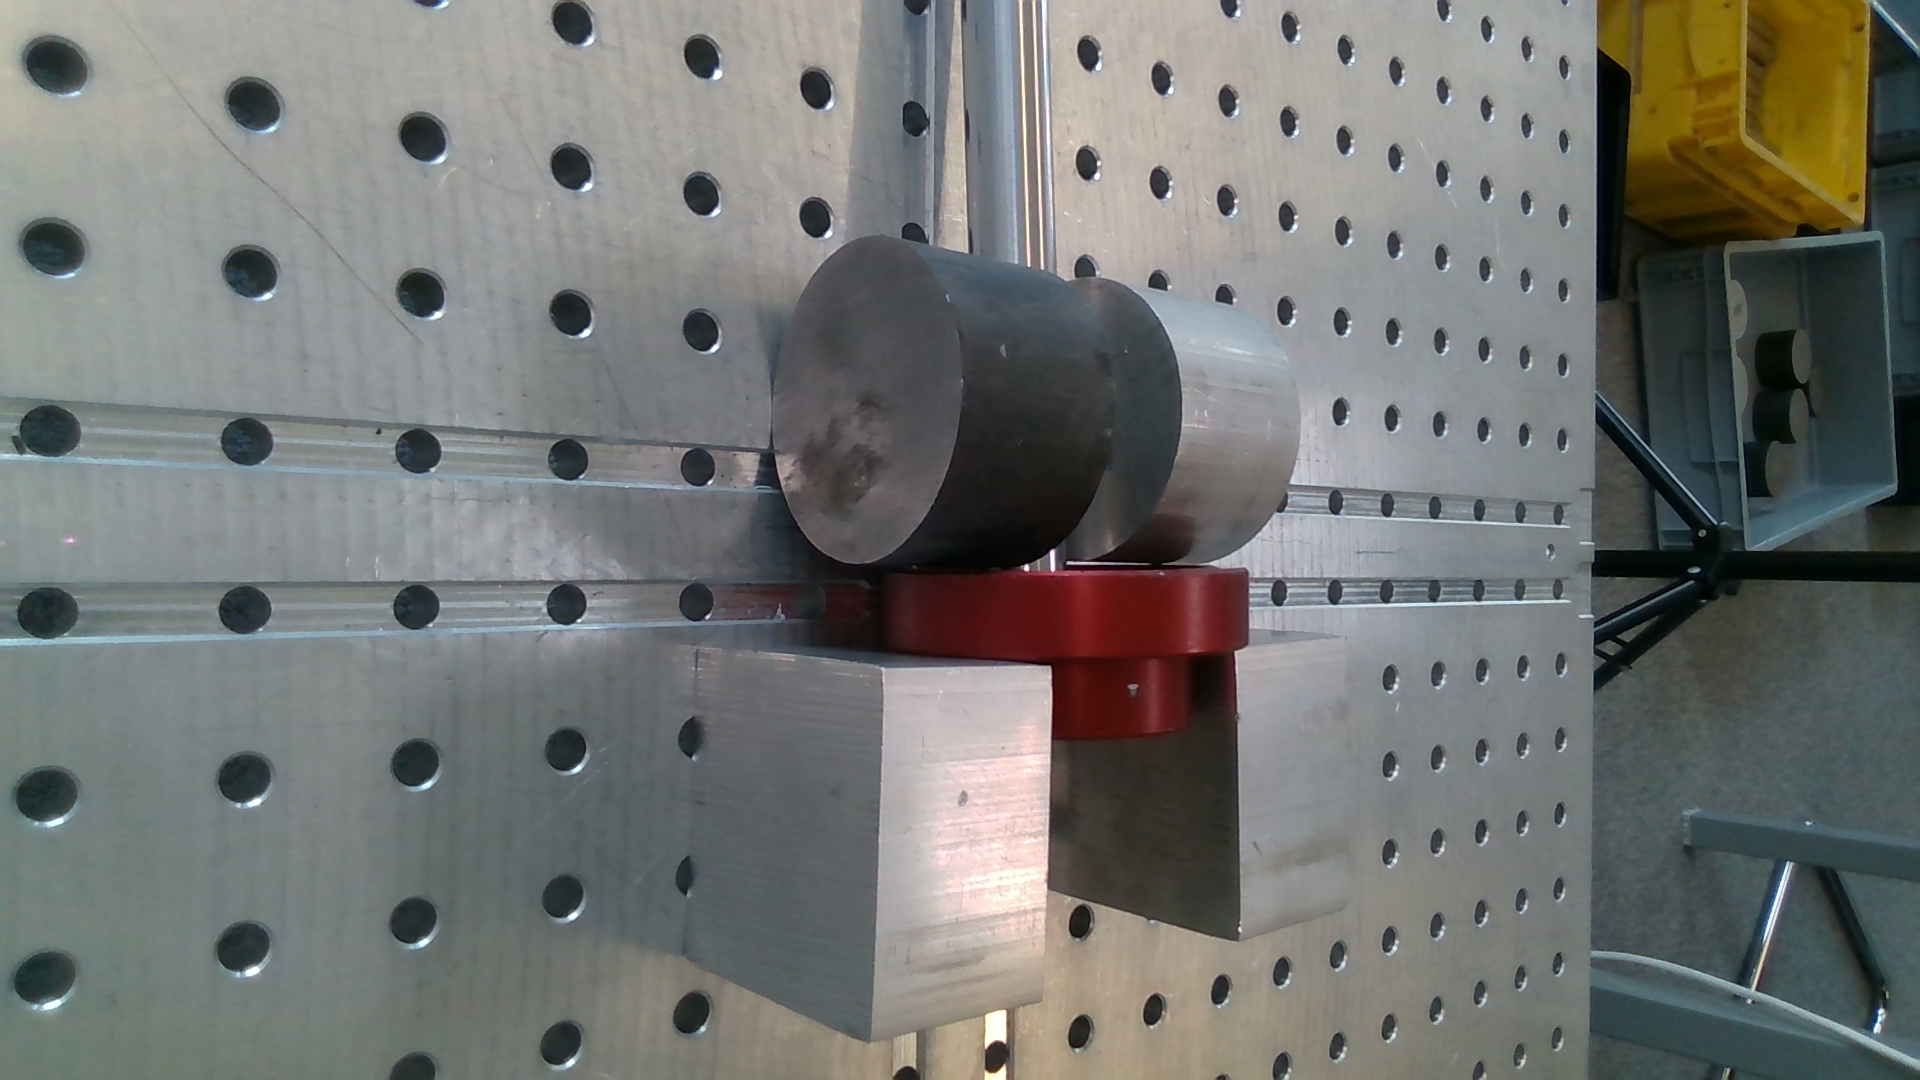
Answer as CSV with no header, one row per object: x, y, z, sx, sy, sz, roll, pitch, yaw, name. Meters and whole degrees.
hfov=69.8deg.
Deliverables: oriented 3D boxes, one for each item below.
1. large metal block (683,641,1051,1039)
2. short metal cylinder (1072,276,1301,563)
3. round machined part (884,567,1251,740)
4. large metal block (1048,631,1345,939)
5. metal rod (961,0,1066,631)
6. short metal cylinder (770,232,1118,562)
-0.025,0.067,0.339,0.050,0.080,0.080,3,88,-40,large metal block
0.051,-0.033,0.402,0.050,0.080,0.080,1,89,-40,short metal cylinder
0.028,0.028,0.370,0.098,0.098,0.042,1,89,-40,round machined part
0.068,0.067,0.417,0.050,0.080,0.080,-1,90,-40,large metal block
0.013,-0.116,0.390,0.025,0.025,0.300,2,85,-40,metal rod
-0.006,-0.034,0.352,0.050,0.080,0.080,2,89,-40,short metal cylinder
